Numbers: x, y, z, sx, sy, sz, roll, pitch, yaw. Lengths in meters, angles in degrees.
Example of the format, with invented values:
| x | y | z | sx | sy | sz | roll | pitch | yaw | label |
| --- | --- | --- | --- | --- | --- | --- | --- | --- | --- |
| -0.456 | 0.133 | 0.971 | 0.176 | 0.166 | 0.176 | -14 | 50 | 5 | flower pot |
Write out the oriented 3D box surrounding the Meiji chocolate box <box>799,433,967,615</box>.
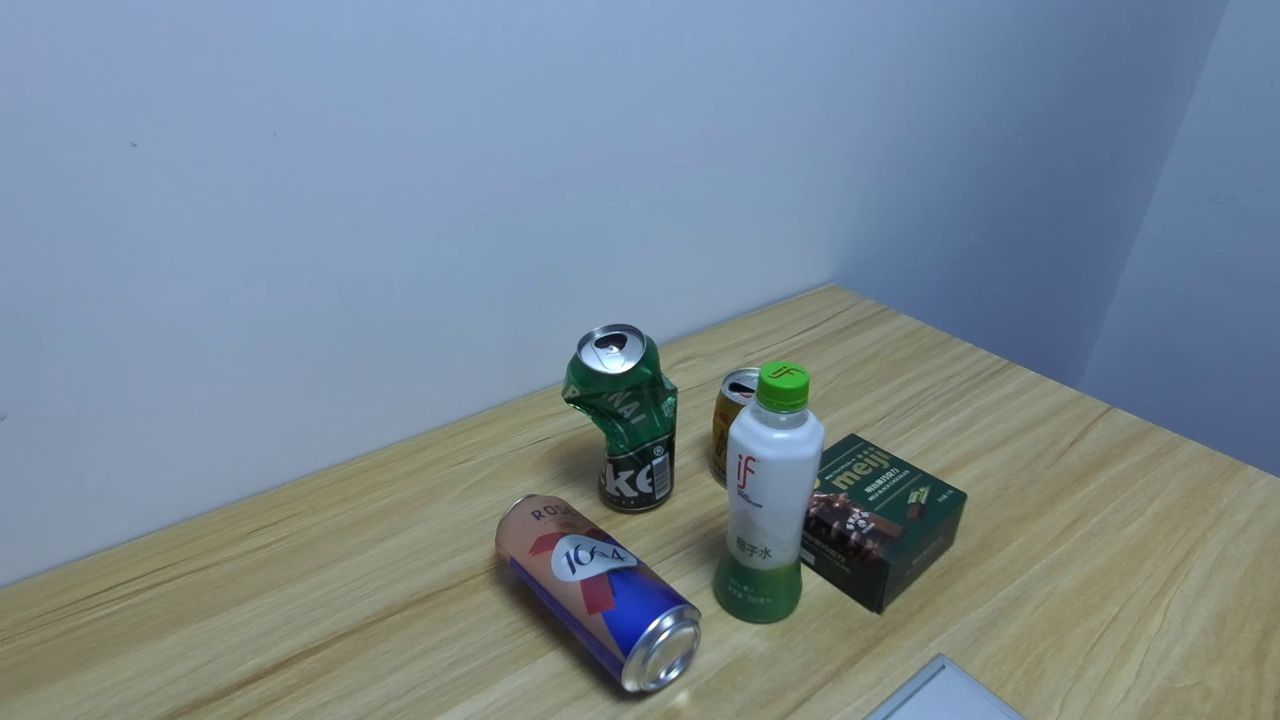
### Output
| x | y | z | sx | sy | sz | roll | pitch | yaw | label |
| --- | --- | --- | --- | --- | --- | --- | --- | --- | --- |
| 0.175 | 0.122 | 0.552 | 0.110 | 0.056 | 0.108 | -23 | 38 | -35 | Meiji chocolate box |

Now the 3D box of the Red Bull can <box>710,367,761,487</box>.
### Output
| x | y | z | sx | sy | sz | roll | pitch | yaw | label |
| --- | --- | --- | --- | --- | --- | --- | --- | --- | --- |
| 0.097 | 0.061 | 0.608 | 0.069 | 0.092 | 0.069 | 0 | 32 | 0 | Red Bull can |

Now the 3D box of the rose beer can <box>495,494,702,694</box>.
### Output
| x | y | z | sx | sy | sz | roll | pitch | yaw | label |
| --- | --- | --- | --- | --- | --- | --- | --- | --- | --- |
| -0.033 | 0.152 | 0.488 | 0.070 | 0.069 | 0.167 | -42 | 45 | -21 | rose beer can |

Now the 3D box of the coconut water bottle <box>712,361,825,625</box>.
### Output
| x | y | z | sx | sy | sz | roll | pitch | yaw | label |
| --- | --- | --- | --- | --- | --- | --- | --- | --- | --- |
| 0.086 | 0.089 | 0.470 | 0.063 | 0.189 | 0.063 | 0 | 31 | 0 | coconut water bottle |

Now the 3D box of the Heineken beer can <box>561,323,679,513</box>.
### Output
| x | y | z | sx | sy | sz | roll | pitch | yaw | label |
| --- | --- | --- | --- | --- | --- | --- | --- | --- | --- |
| -0.008 | 0.048 | 0.573 | 0.067 | 0.159 | 0.079 | 12 | 40 | 27 | Heineken beer can |
